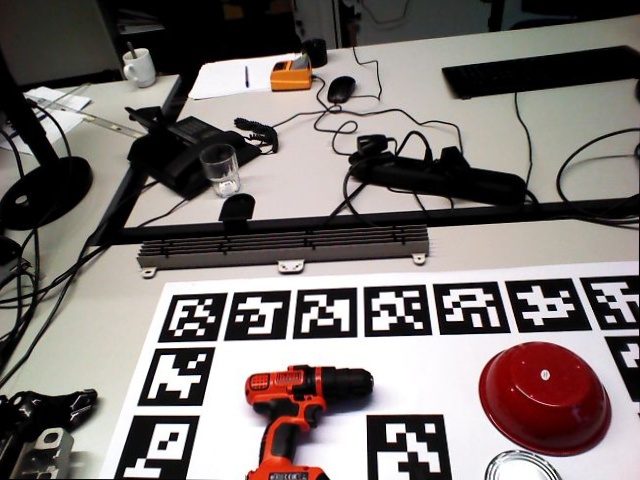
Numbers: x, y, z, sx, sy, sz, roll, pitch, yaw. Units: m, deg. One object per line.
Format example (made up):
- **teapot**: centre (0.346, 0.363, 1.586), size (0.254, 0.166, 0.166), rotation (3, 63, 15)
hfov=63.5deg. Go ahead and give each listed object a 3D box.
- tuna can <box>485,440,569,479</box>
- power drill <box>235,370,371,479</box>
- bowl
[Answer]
- **tuna can**: centre (0.229, 0.272, 0.577), size (0.086, 0.034, 0.085), rotation (-5, 43, 4)
- **power drill**: centre (-0.026, 0.249, 0.648), size (0.185, 0.057, 0.186), rotation (-2, 41, 5)
- **bowl**: centre (0.286, 0.180, 0.663), size (0.162, 0.055, 0.161), rotation (-9, 35, 6)
